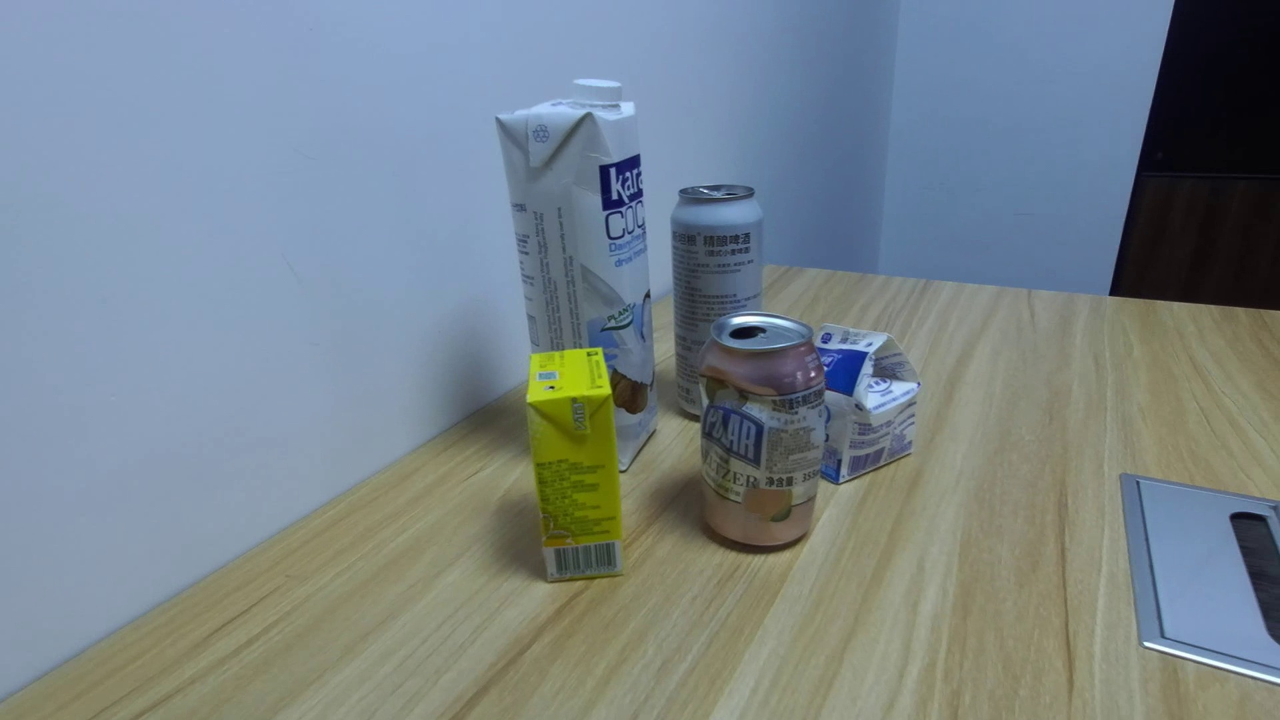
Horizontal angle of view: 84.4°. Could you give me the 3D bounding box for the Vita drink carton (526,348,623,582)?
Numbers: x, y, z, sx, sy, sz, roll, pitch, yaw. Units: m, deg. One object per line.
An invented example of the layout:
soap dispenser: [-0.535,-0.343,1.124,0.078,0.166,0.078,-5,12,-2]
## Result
Vita drink carton: [-0.035,0.055,0.386,0.043,0.109,0.066,-5,23,-5]

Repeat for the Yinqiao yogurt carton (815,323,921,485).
Yinqiao yogurt carton: [0.137,0.019,0.471,0.077,0.093,0.083,-15,26,-29]

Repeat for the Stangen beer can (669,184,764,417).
Stangen beer can: [0.056,-0.041,0.525,0.067,0.171,0.067,-2,19,1]

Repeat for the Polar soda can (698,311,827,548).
Polar soda can: [0.067,0.040,0.398,0.067,0.122,0.074,0,23,7]
